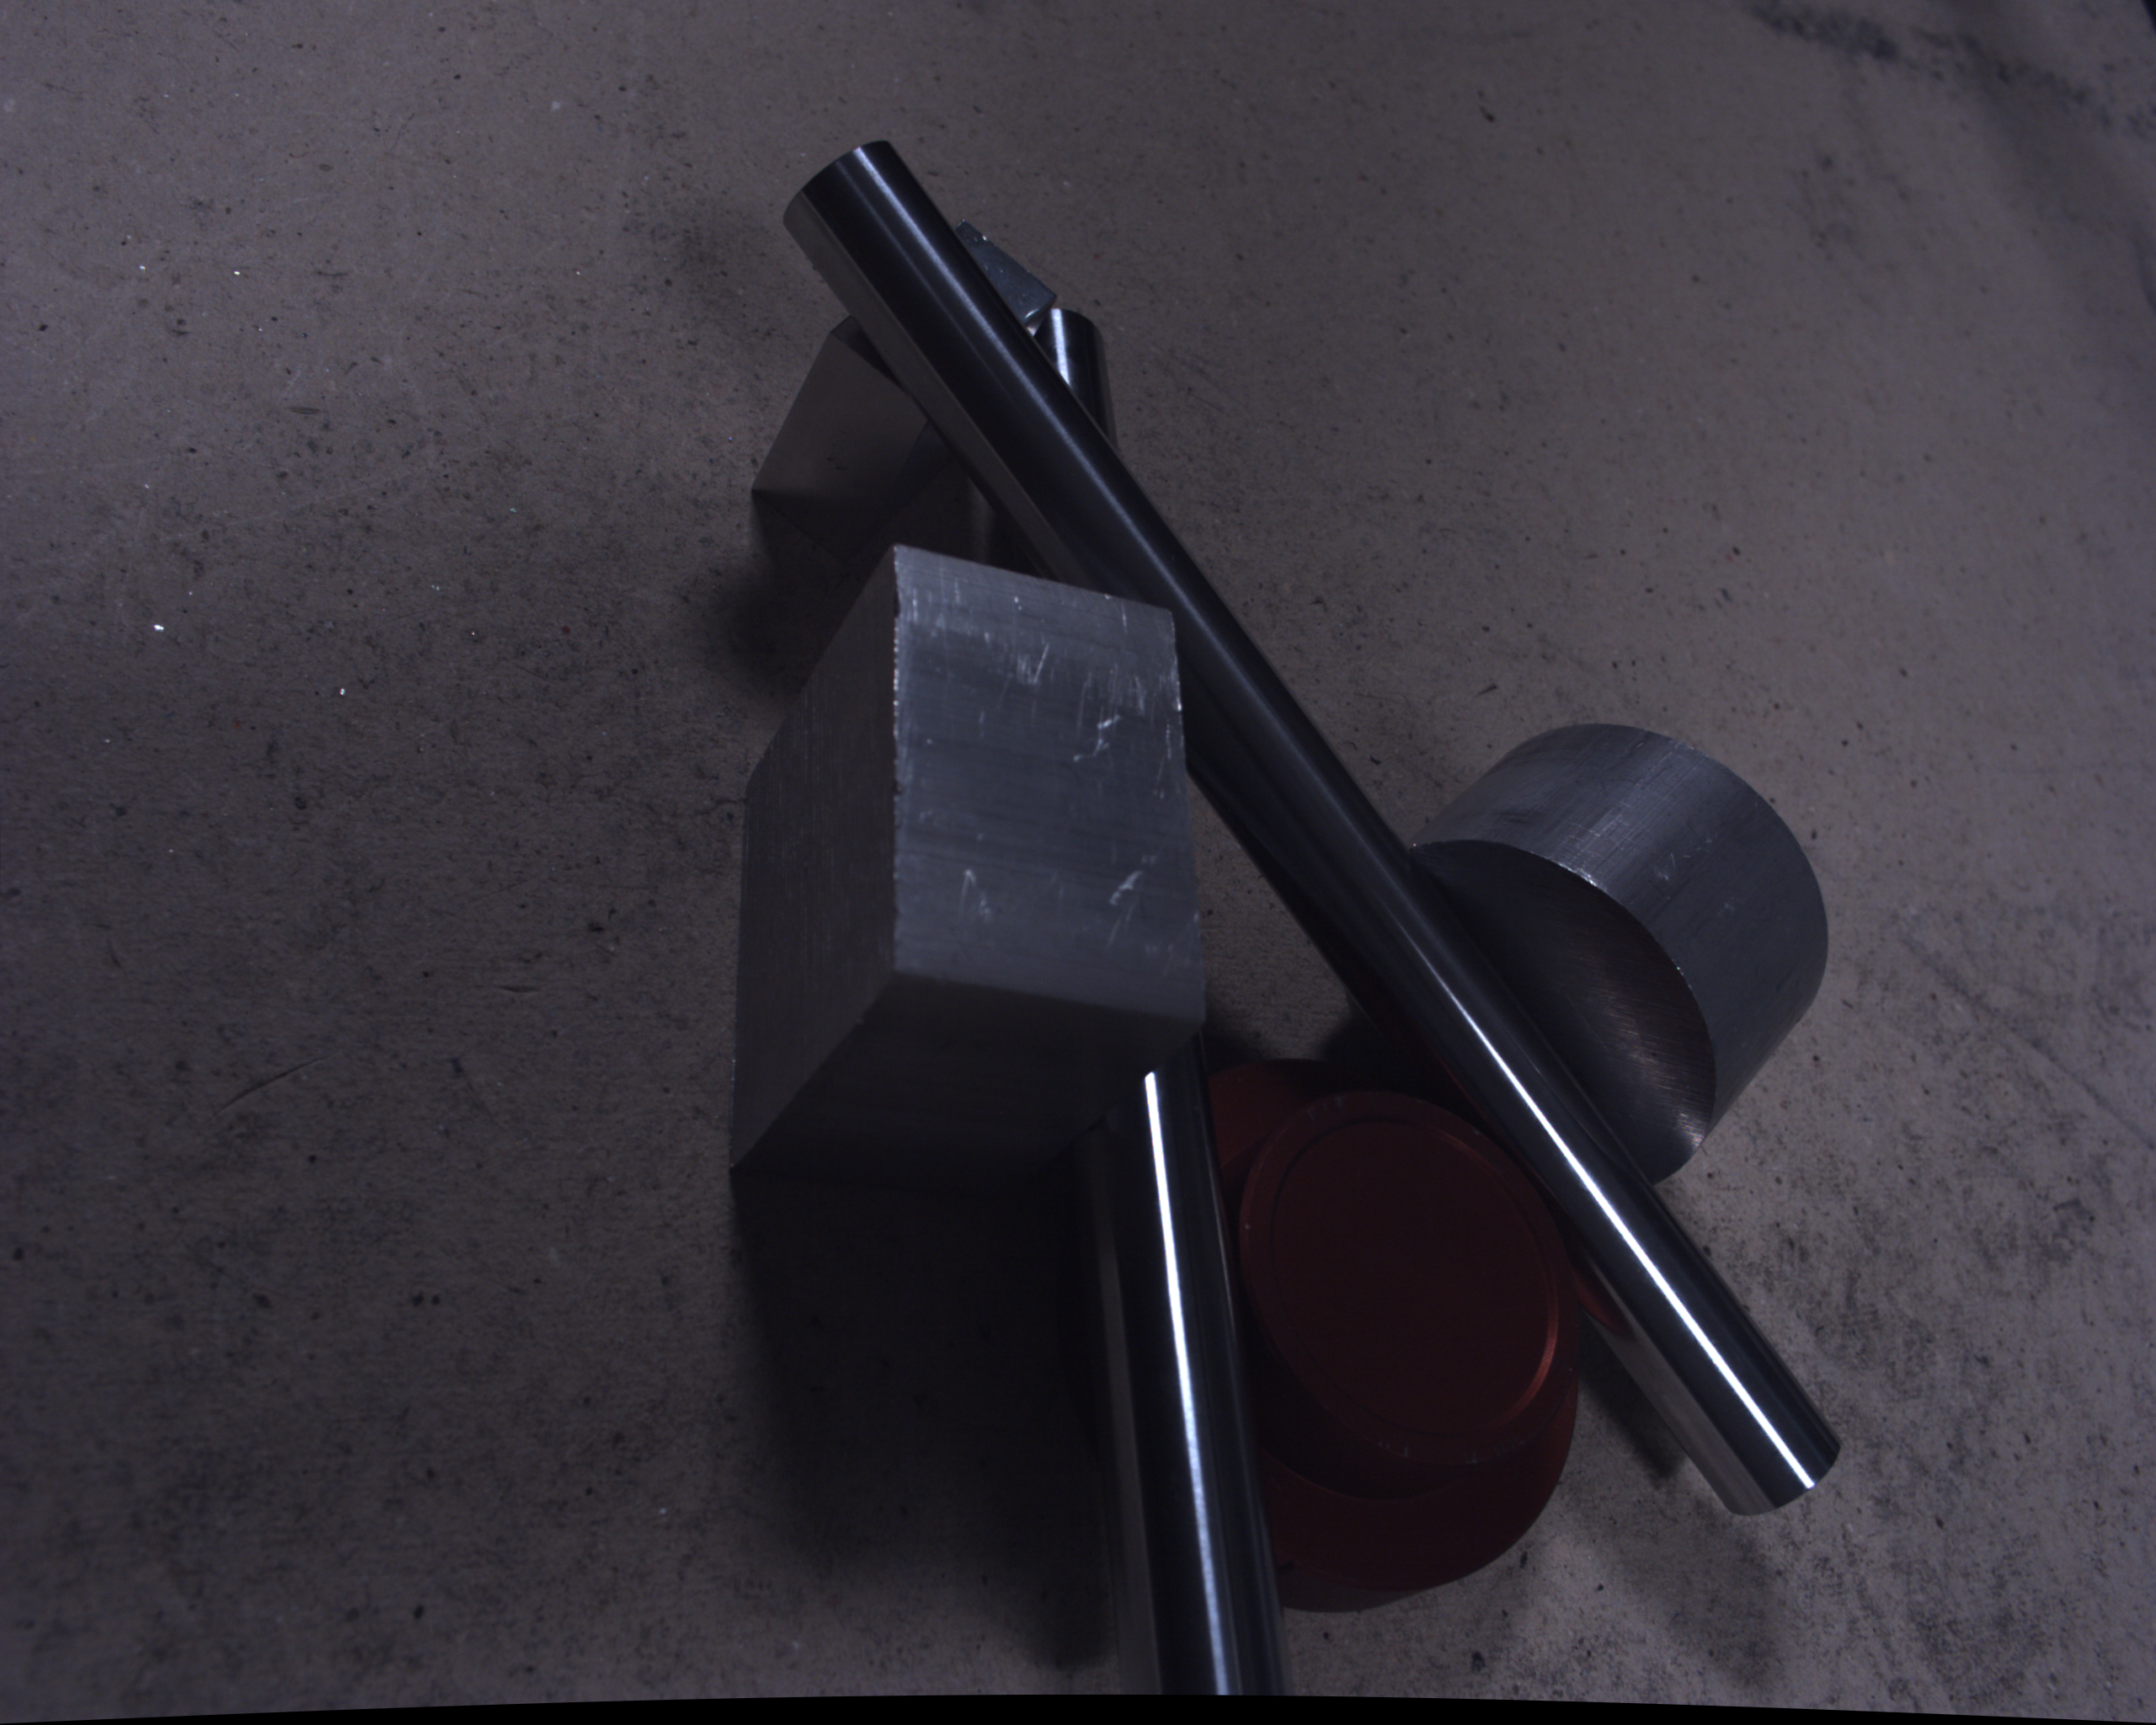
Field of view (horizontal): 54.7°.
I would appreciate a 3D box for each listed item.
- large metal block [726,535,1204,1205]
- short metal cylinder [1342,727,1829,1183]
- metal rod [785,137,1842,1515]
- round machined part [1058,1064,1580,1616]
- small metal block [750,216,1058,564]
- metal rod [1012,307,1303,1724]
[{"bbox_3d":[-0.022,0.005,0.357,0.050,0.080,0.080,11,57,-23],"label":"large metal block"},{"bbox_3d":[0.100,0.020,0.414,0.080,0.080,0.050,49,51,5],"label":"short metal cylinder"},{"bbox_3d":[0.045,-0.006,0.390,0.025,0.025,0.299,-38,92,-39],"label":"metal rod"},{"bbox_3d":[0.050,0.081,0.374,0.099,0.042,0.098,14,56,-21],"label":"round machined part"},{"bbox_3d":[-0.036,-0.097,0.430,0.025,0.050,0.050,39,51,-3],"label":"small metal block"},{"bbox_3d":[0.007,0.004,0.388,0.025,0.025,0.299,11,51,-23],"label":"metal rod"}]
